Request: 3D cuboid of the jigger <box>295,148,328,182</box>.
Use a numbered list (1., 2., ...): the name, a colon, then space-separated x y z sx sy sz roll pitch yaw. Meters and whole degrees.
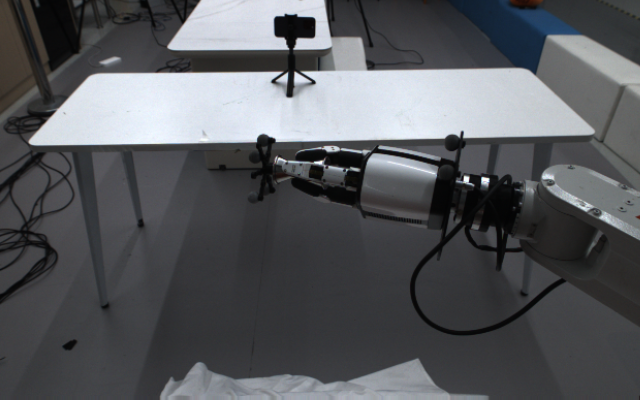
1. jigger: -0.017 -0.041 0.634 0.071 0.043 0.043 5 34 15
